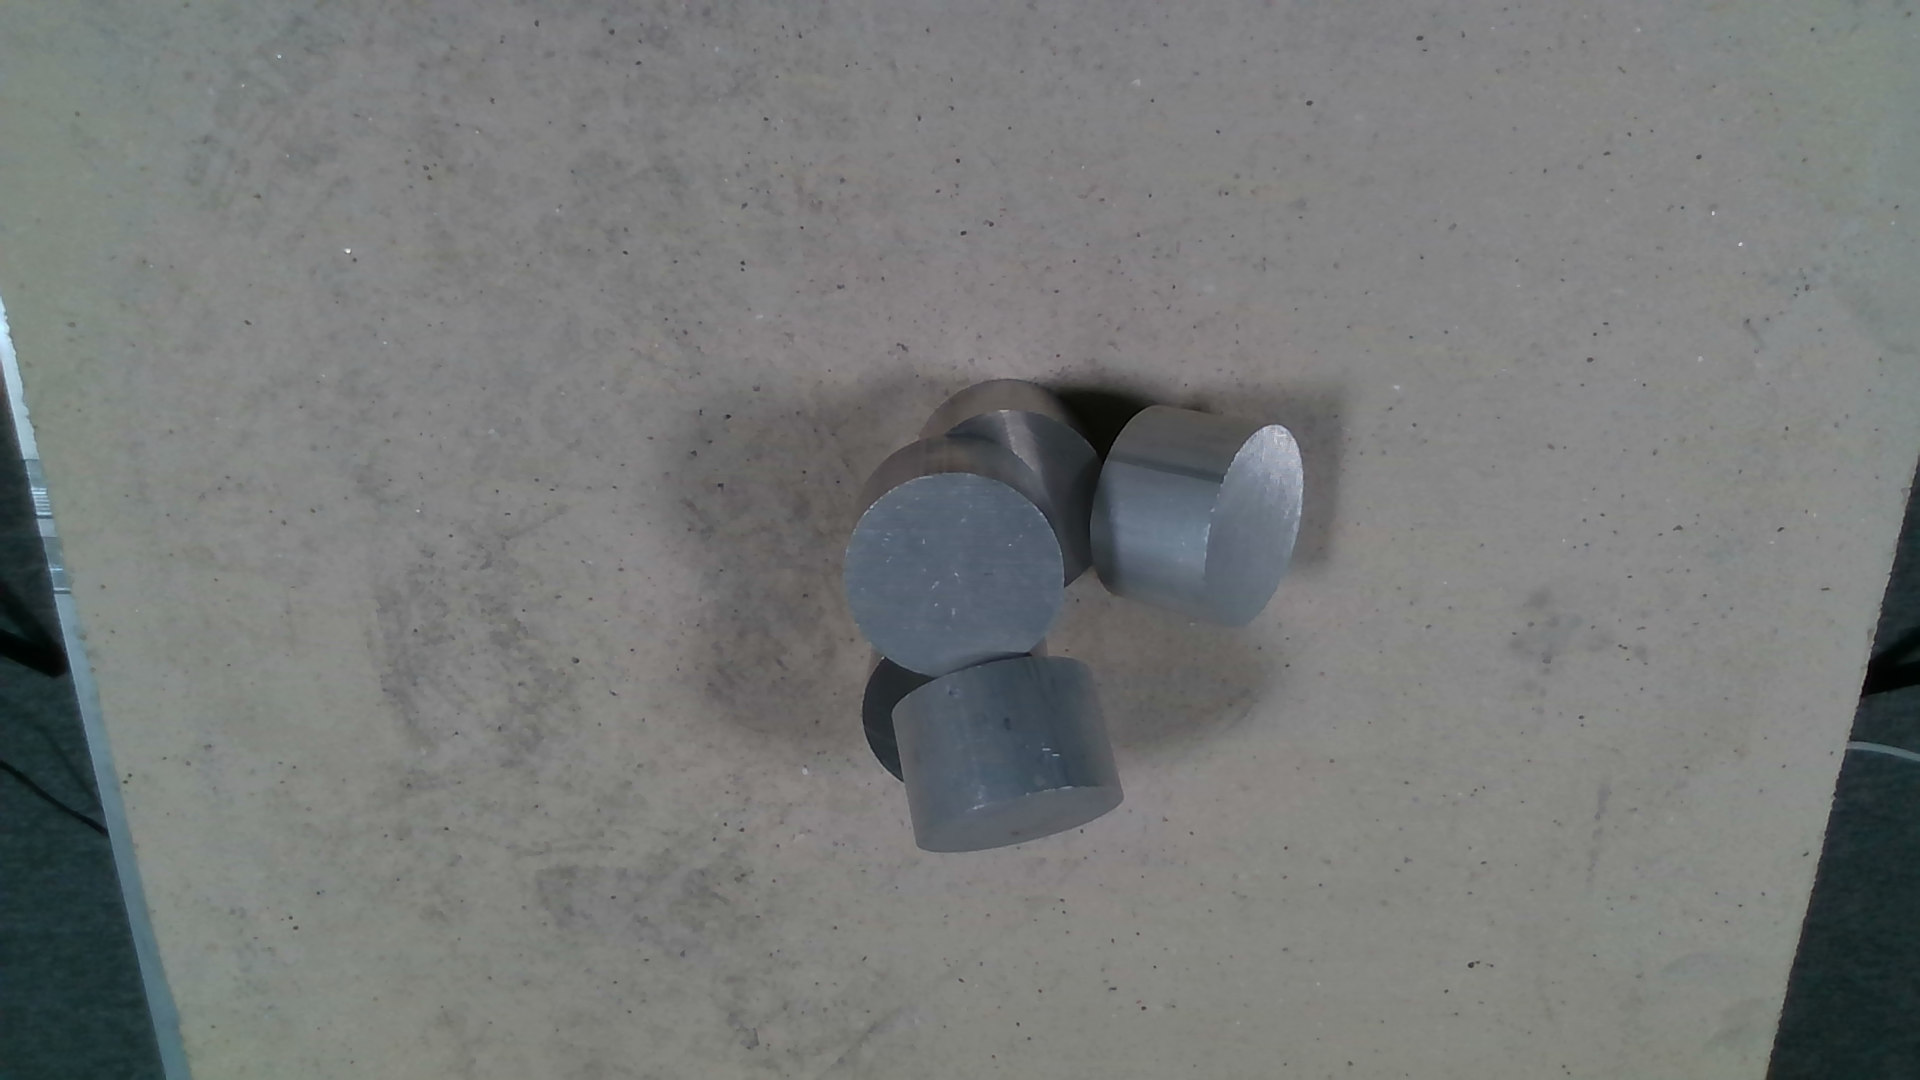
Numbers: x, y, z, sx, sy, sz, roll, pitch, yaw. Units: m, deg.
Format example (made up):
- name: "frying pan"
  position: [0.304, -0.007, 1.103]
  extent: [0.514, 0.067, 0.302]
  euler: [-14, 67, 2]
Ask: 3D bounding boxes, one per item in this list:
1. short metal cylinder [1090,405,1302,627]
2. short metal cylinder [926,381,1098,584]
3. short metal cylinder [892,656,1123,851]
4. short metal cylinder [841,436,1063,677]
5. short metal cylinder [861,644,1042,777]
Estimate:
- name: "short metal cylinder"
  position: [0.095, -0.011, 0.545]
  extent: [0.050, 0.080, 0.080]
  euler: [15, 115, 36]
- name: "short metal cylinder"
  position: [0.019, -0.022, 0.563]
  extent: [0.080, 0.050, 0.080]
  euler: [0, 110, 0]
- name: "short metal cylinder"
  position: [0.017, 0.083, 0.525]
  extent: [0.080, 0.080, 0.050]
  euler: [-16, 66, 6]
- name: "short metal cylinder"
  position: [-0.003, 0.005, 0.520]
  extent: [0.080, 0.050, 0.080]
  euler: [0, 110, 0]
- name: "short metal cylinder"
  position: [-0.001, 0.063, 0.594]
  extent: [0.080, 0.050, 0.080]
  euler: [0, 110, 0]
